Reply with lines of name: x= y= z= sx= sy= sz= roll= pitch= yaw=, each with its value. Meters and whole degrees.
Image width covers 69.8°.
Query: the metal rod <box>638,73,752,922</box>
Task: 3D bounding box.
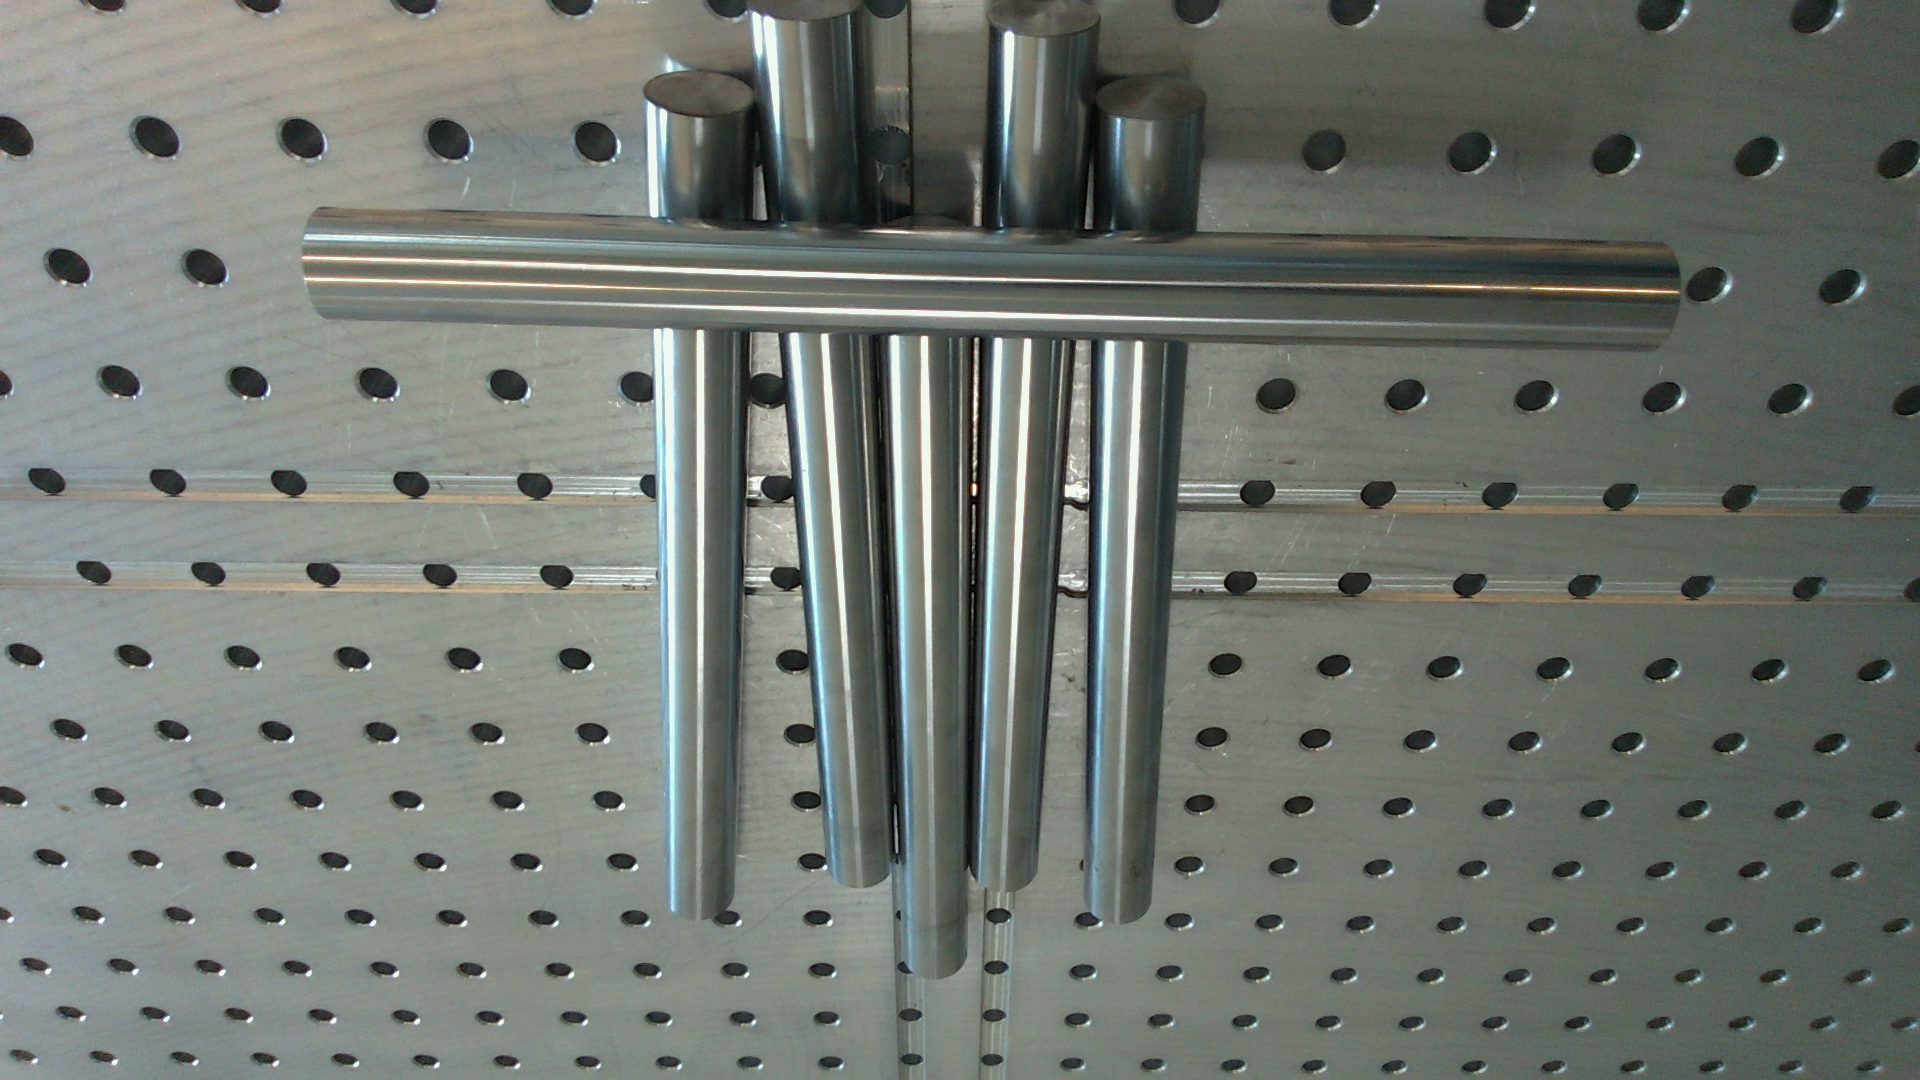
metal rod: x=-0.077 y=0.014 z=0.403 sx=0.025 sy=0.025 sz=0.300 roll=5 pitch=130 yaw=-5

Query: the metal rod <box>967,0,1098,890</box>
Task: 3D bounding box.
metal rod: x=0.016 y=0.000 z=0.395 sx=0.025 sy=0.025 sz=0.300 roll=0 pitch=130 yaw=0

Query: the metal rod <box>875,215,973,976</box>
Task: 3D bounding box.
metal rod: x=-0.010 y=0.042 z=0.428 sx=0.025 sy=0.025 sz=0.300 roll=0 pitch=130 yaw=0

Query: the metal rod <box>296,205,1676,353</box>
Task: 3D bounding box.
metal rod: x=0.007 y=-0.059 z=0.311 sx=0.300 sy=0.025 sz=0.025 roll=1 pitch=130 yaw=-1

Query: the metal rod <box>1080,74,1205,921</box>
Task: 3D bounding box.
metal rod: x=0.050 y=0.014 z=0.406 sx=0.025 sy=0.025 sz=0.300 roll=-2 pitch=130 yaw=2

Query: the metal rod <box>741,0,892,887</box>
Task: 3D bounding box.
metal rod: x=-0.035 y=-0.002 z=0.392 sx=0.025 sy=0.025 sz=0.300 roll=0 pitch=130 yaw=0
